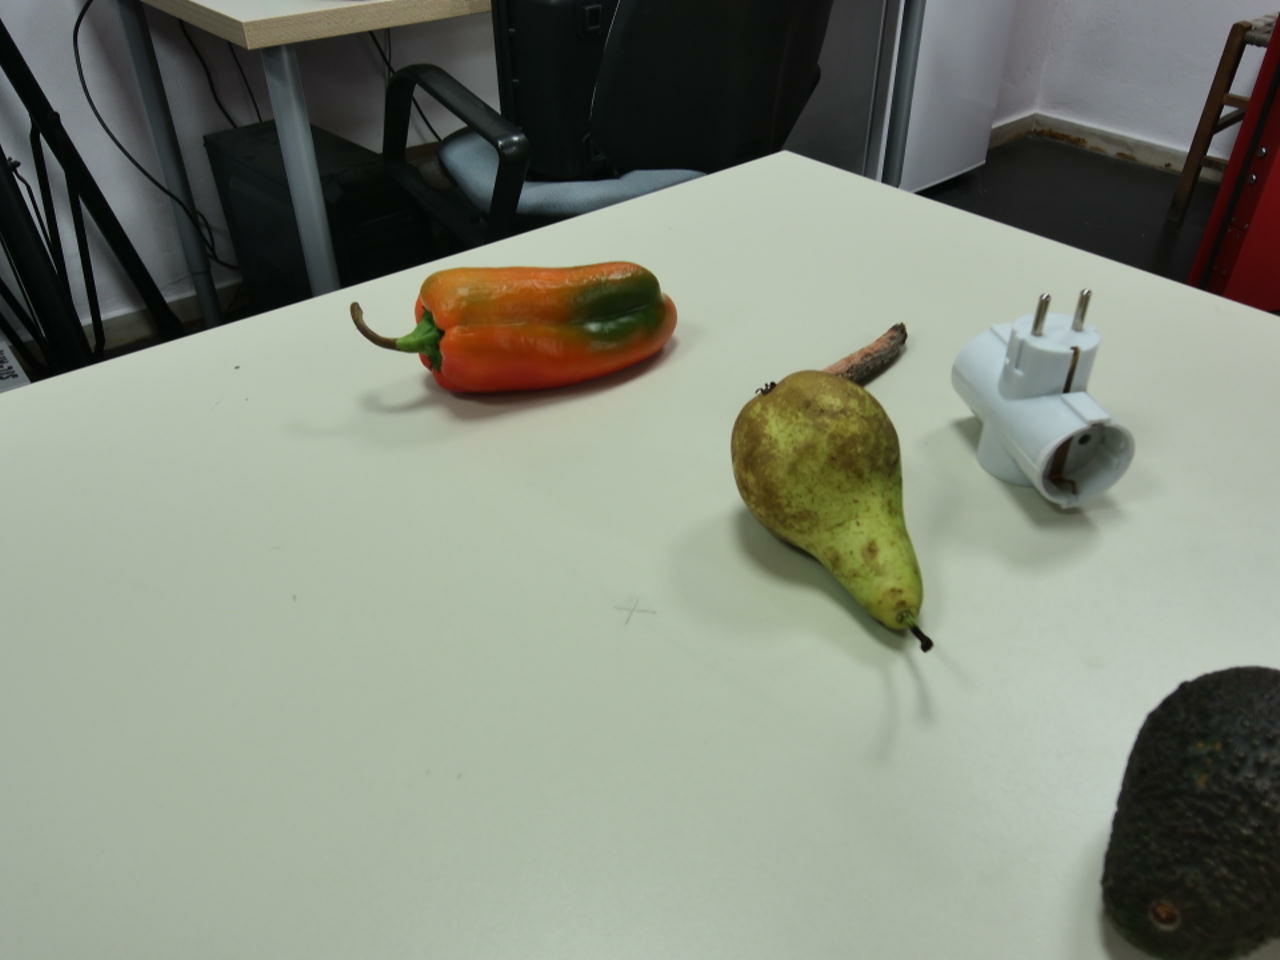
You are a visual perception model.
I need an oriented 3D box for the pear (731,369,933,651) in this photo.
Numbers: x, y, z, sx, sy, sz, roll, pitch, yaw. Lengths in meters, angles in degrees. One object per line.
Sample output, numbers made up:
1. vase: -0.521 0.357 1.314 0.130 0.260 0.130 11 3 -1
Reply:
1. pear: 0.093 0.007 0.409 0.071 0.075 0.144 -19 39 -24
